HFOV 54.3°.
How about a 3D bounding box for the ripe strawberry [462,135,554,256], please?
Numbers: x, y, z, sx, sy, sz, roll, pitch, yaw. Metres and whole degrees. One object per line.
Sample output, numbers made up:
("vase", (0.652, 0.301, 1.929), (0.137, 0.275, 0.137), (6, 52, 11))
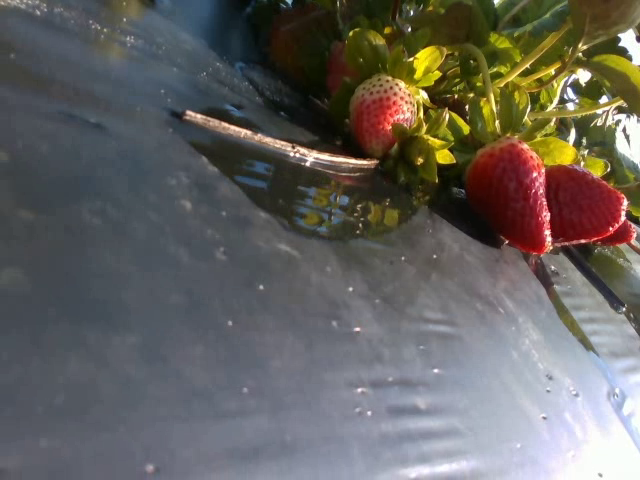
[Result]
("ripe strawberry", (0.069, -0.016, 0.210), (0.031, 0.046, 0.023), (10, -35, -44))

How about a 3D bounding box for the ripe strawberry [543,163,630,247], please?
("ripe strawberry", (0.094, -0.014, 0.225), (0.030, 0.037, 0.039), (23, -3, -40))
